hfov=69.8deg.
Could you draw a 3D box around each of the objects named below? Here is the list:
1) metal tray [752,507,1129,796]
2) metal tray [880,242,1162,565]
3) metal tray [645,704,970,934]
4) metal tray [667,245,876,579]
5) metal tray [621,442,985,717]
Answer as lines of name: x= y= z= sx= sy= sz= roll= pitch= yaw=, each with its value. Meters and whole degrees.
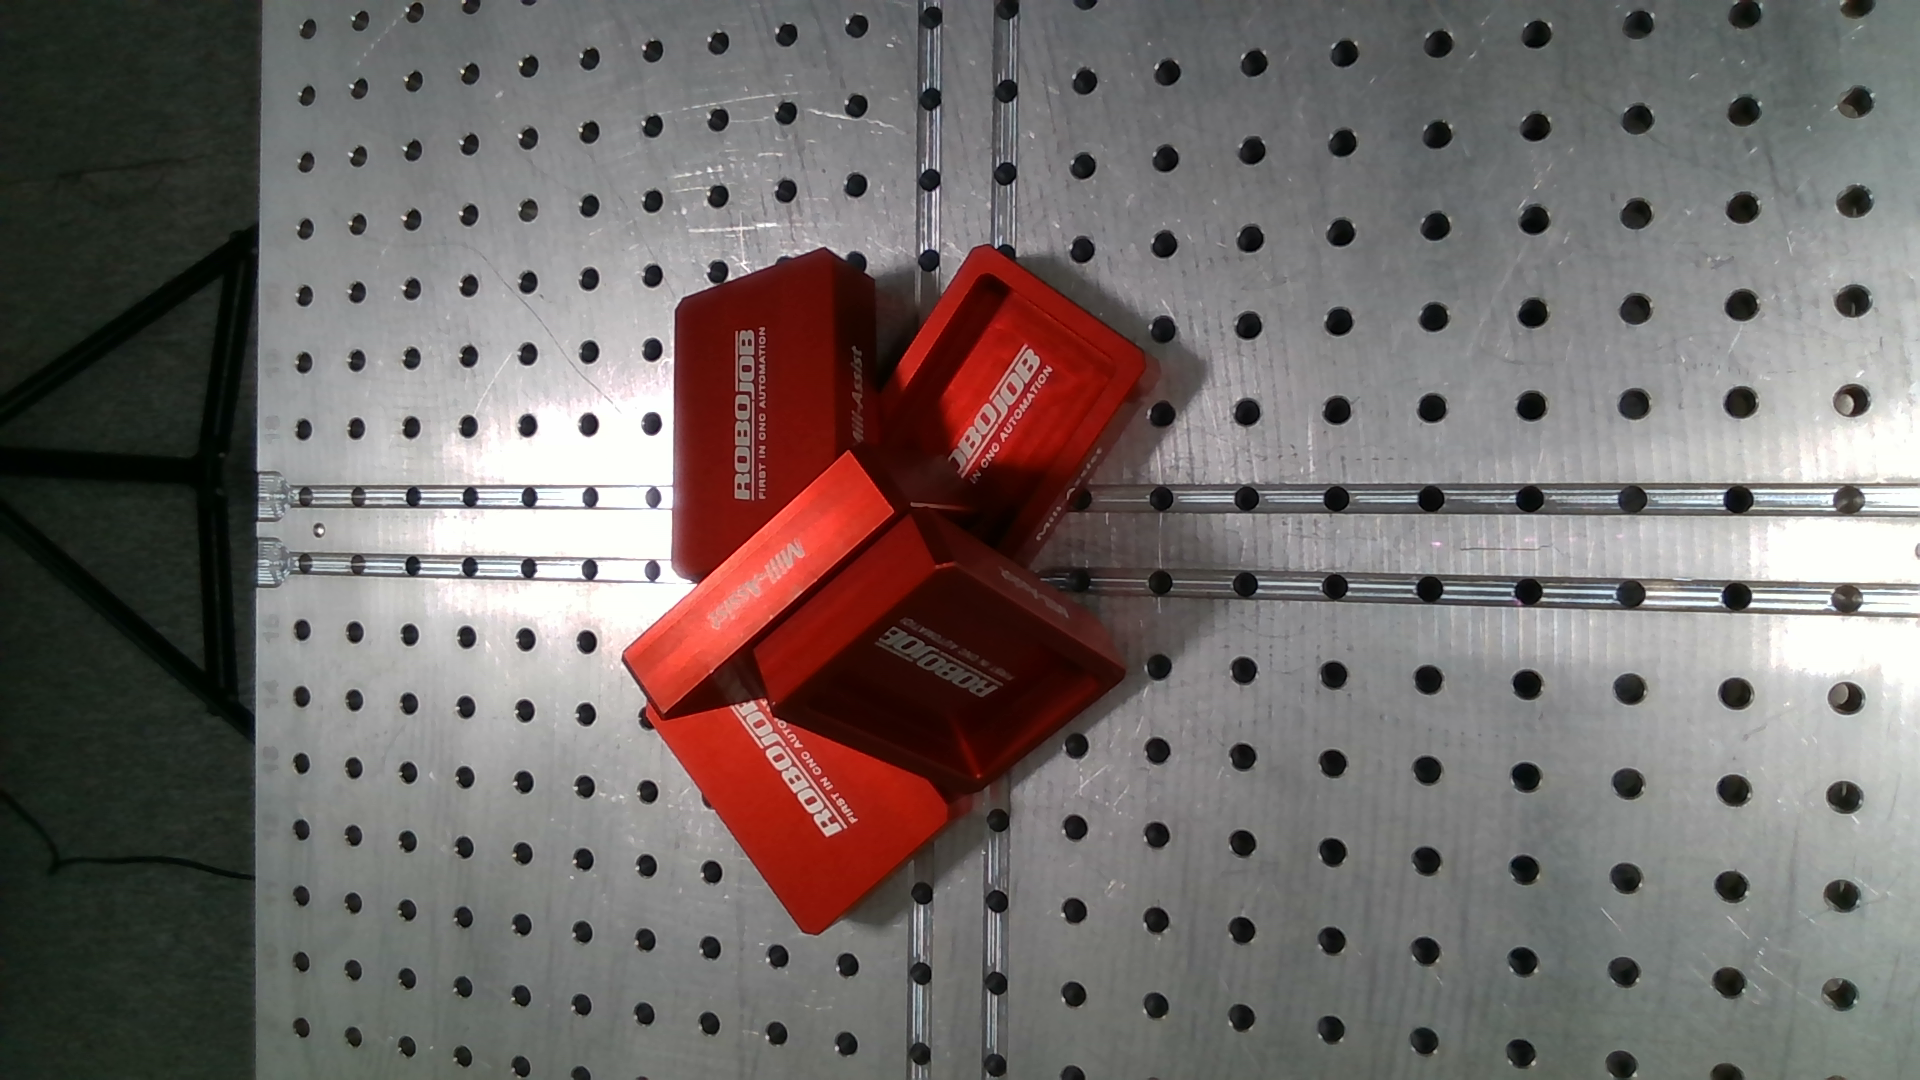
metal tray: x=-0.004 y=0.048 z=0.535 sx=0.090 sy=0.130 sz=0.030 roll=-40 pitch=49 yaw=16
metal tray: x=0.011 y=-0.046 z=0.581 sx=0.090 sy=0.030 sz=0.130 roll=38 pitch=103 yaw=16
metal tray: x=-0.069 y=0.095 z=0.611 sx=0.090 sy=0.030 sz=0.130 roll=-43 pitch=77 yaw=15
metal tray: x=-0.081 y=-0.051 z=0.589 sx=0.090 sy=0.030 sz=0.130 roll=-12 pitch=71 yaw=30
metal tray: x=-0.060 y=0.016 z=0.543 sx=0.130 sy=0.090 sz=0.030 roll=-40 pitch=77 yaw=16
